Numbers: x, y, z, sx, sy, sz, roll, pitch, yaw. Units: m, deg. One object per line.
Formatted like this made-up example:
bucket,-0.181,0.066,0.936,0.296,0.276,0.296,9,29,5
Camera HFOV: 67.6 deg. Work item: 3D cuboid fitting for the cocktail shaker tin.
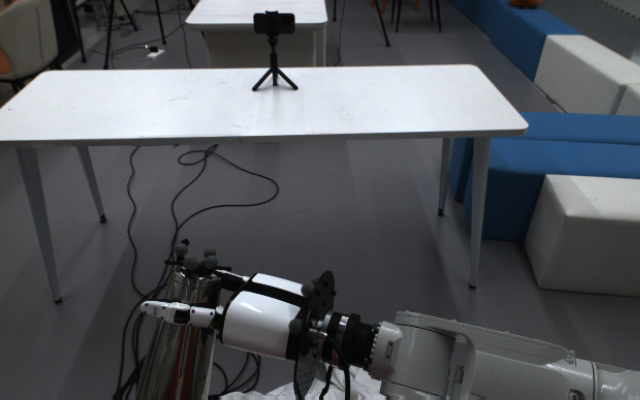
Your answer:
cocktail shaker tin,-0.178,0.176,0.642,0.093,0.170,0.093,13,3,-1
